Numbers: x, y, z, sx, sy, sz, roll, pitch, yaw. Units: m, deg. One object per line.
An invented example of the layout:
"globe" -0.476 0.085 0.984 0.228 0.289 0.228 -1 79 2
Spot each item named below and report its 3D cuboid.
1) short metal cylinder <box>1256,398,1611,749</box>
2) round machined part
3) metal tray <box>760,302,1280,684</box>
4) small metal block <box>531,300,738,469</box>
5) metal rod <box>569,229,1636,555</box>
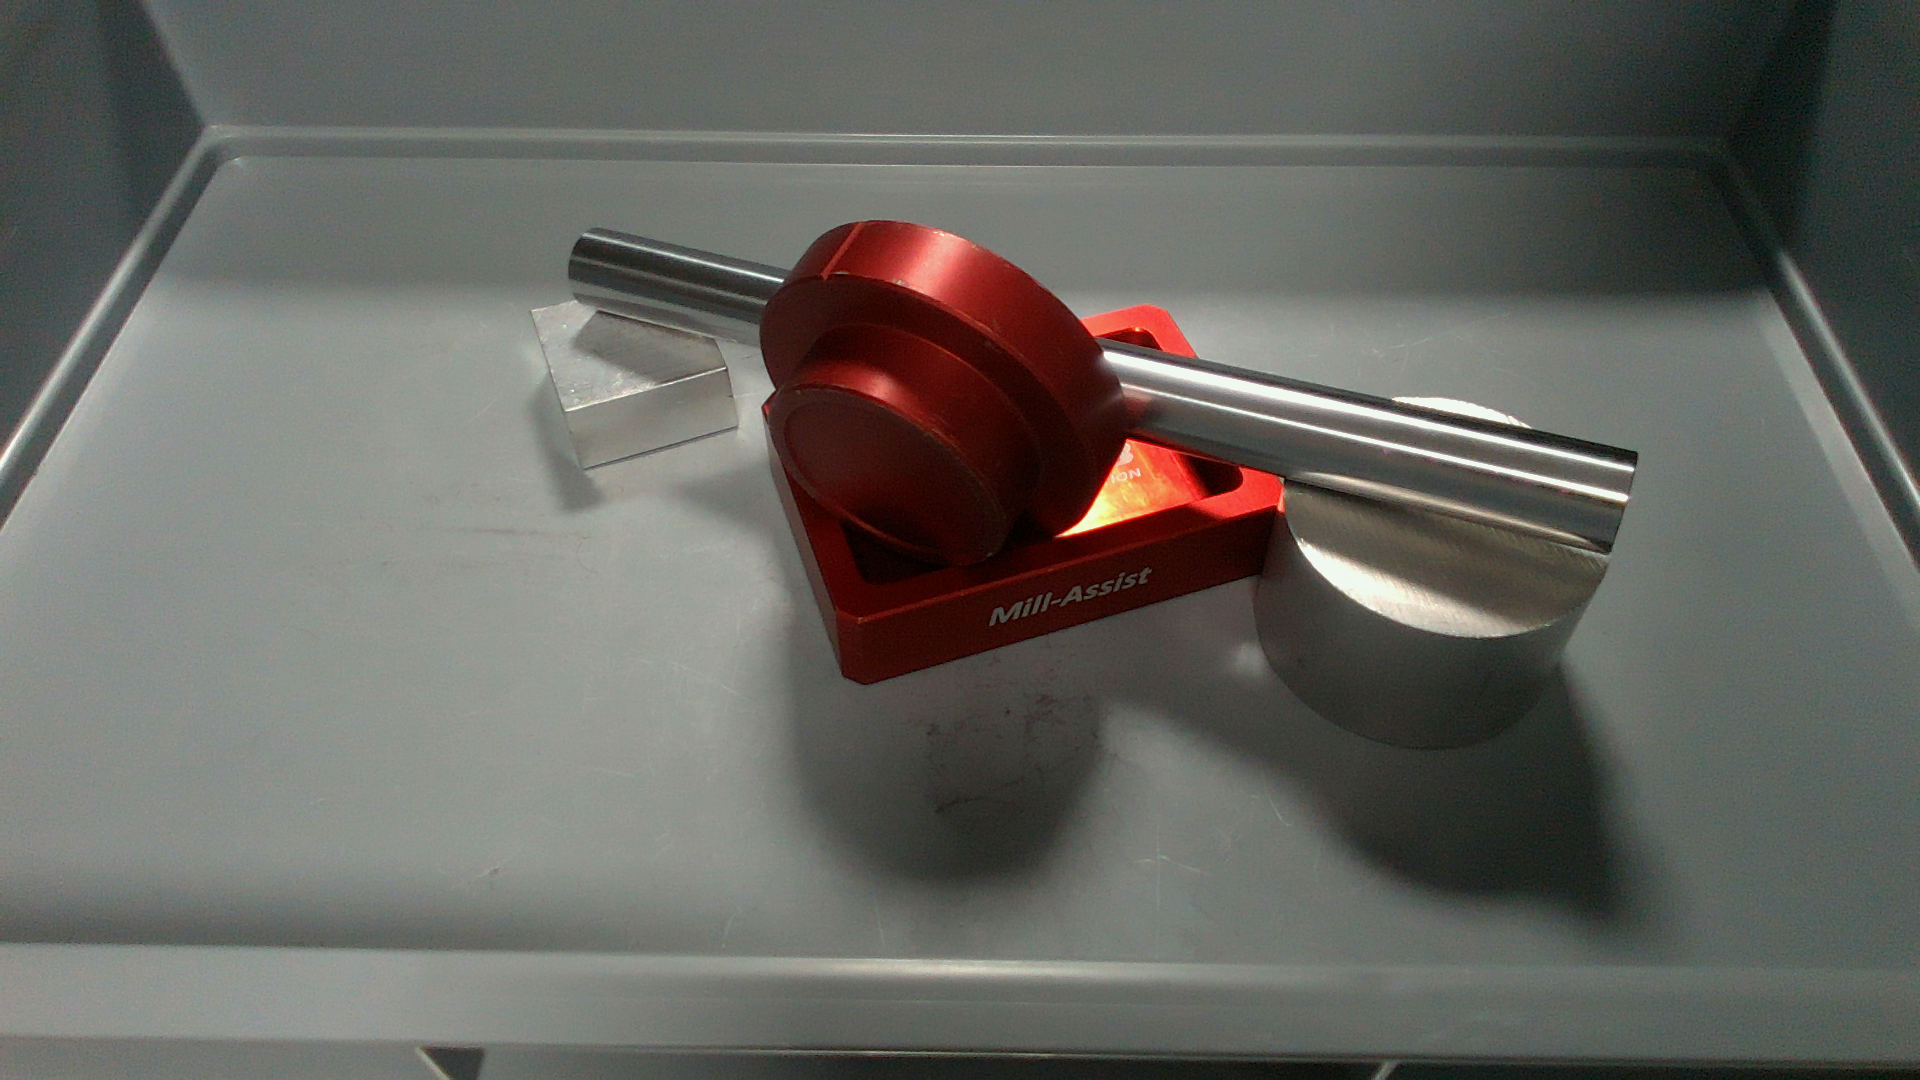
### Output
"short metal cylinder" 0.123 0.008 0.367 0.080 0.050 0.080 0 50 0
"round machined part" -0.010 -0.031 0.352 0.098 0.098 0.042 22 61 18
"metal tray" 0.016 -0.018 0.401 0.130 0.030 0.090 -15 51 -12
"small metal block" -0.103 -0.055 0.436 0.050 0.025 0.050 -17 52 -14
"metal rod" 0.020 -0.047 0.376 0.299 0.025 0.025 16 51 21
